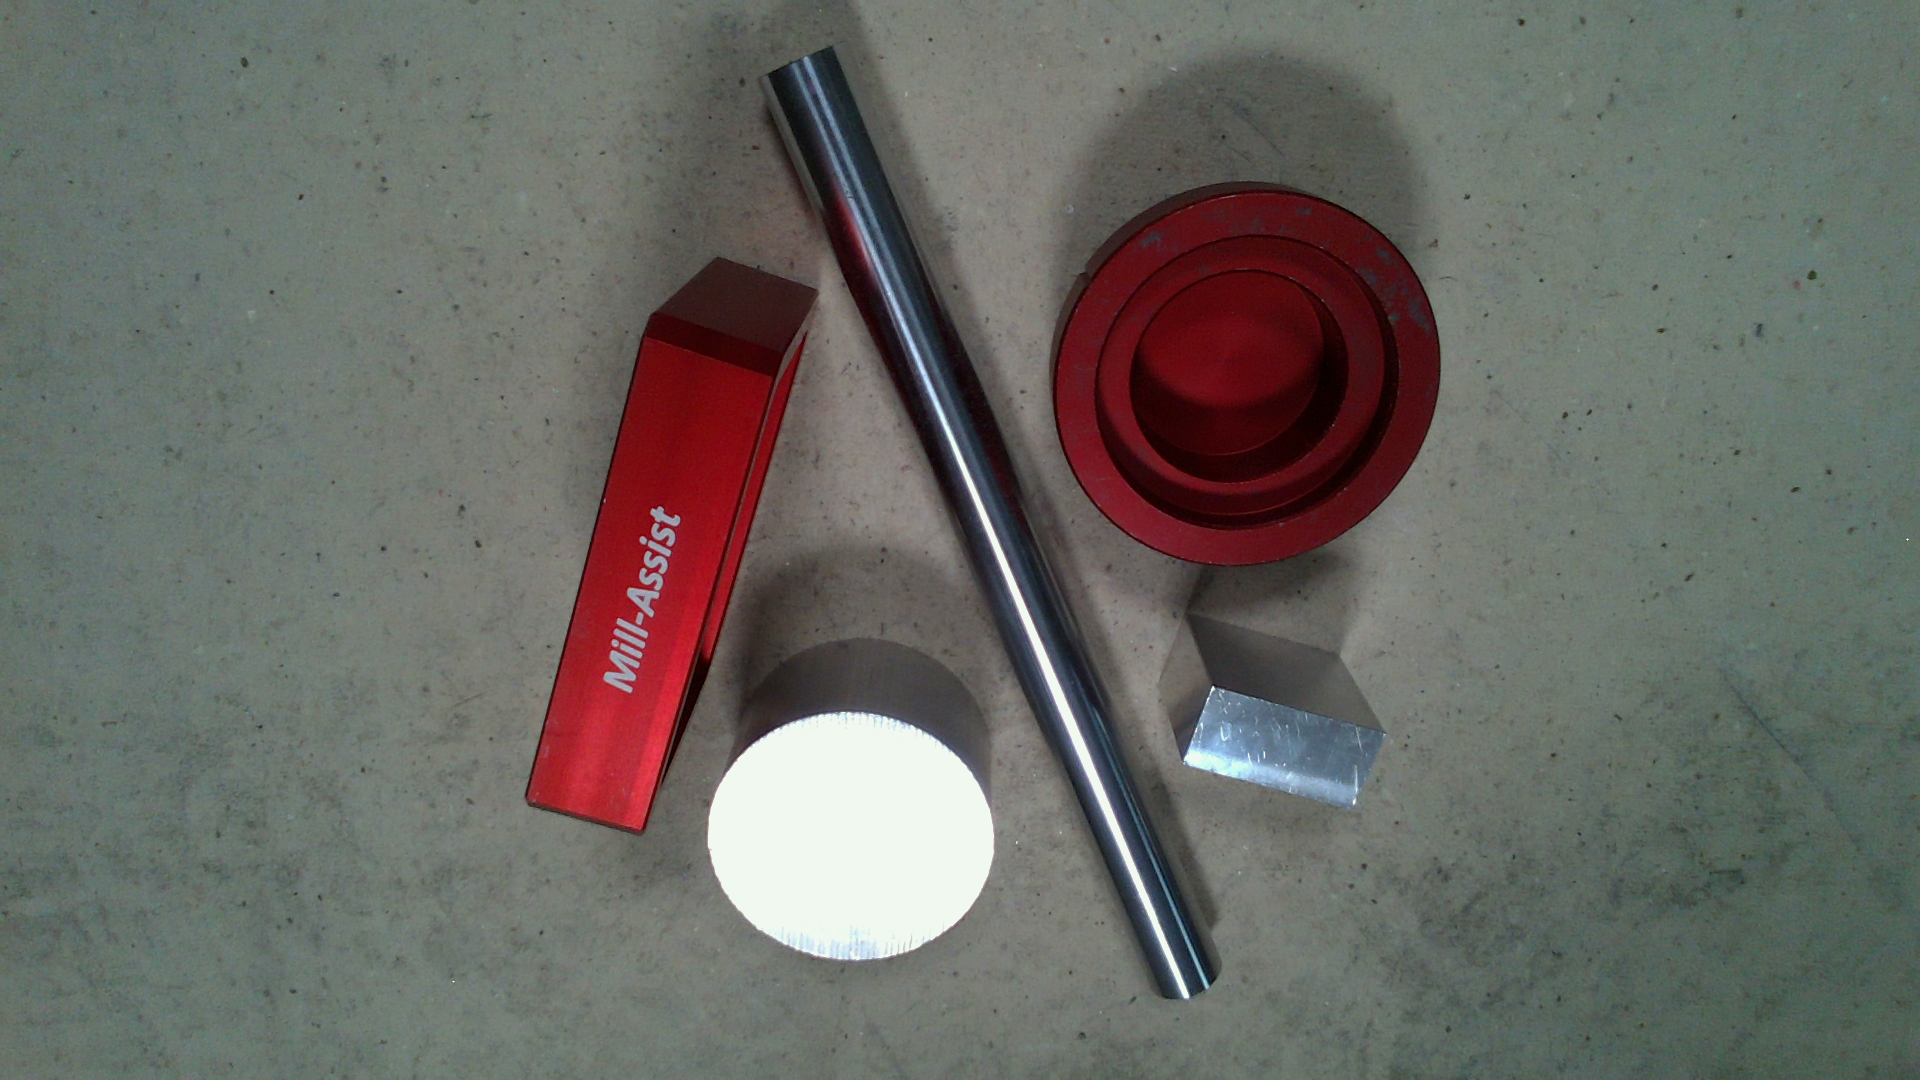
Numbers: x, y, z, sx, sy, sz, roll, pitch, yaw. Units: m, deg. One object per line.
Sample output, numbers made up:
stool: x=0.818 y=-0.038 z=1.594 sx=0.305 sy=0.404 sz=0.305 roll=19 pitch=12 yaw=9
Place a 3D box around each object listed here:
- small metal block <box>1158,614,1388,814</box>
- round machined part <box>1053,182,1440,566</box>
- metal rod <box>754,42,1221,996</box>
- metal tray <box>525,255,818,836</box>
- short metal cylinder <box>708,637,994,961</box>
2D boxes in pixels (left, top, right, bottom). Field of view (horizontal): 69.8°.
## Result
small metal block: x=0.088 y=0.049 z=0.396 sx=0.050 sy=0.050 sz=0.025 roll=16 pitch=110 yaw=-6
round machined part: x=0.073 y=-0.046 z=0.368 sx=0.098 sy=0.042 sz=0.098 roll=0 pitch=110 yaw=0
metal rod: x=0.016 y=0.009 z=0.398 sx=0.025 sy=0.025 sz=0.300 roll=-21 pitch=109 yaw=8
metal tray: x=-0.073 y=-0.001 z=0.359 sx=0.030 sy=0.090 sz=0.130 roll=17 pitch=109 yaw=-6
short metal cylinder: x=-0.030 y=0.076 z=0.408 sx=0.080 sy=0.050 sz=0.080 roll=0 pitch=110 yaw=0
